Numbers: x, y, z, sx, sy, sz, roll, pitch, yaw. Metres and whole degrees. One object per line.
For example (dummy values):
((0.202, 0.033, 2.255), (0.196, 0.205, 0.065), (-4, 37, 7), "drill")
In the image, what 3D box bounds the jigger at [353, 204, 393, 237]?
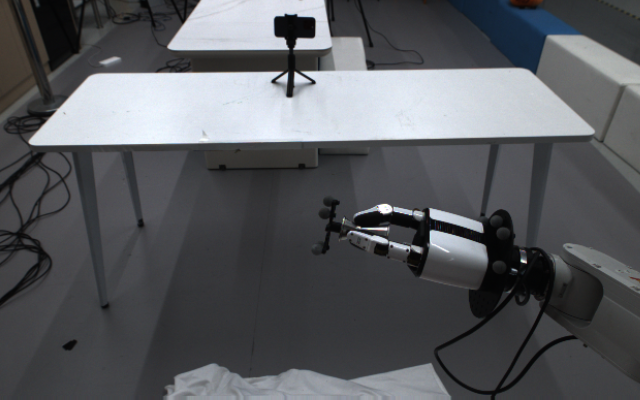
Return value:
((0.071, 0.046, 0.703), (0.071, 0.043, 0.043), (12, 36, 5), "jigger")
